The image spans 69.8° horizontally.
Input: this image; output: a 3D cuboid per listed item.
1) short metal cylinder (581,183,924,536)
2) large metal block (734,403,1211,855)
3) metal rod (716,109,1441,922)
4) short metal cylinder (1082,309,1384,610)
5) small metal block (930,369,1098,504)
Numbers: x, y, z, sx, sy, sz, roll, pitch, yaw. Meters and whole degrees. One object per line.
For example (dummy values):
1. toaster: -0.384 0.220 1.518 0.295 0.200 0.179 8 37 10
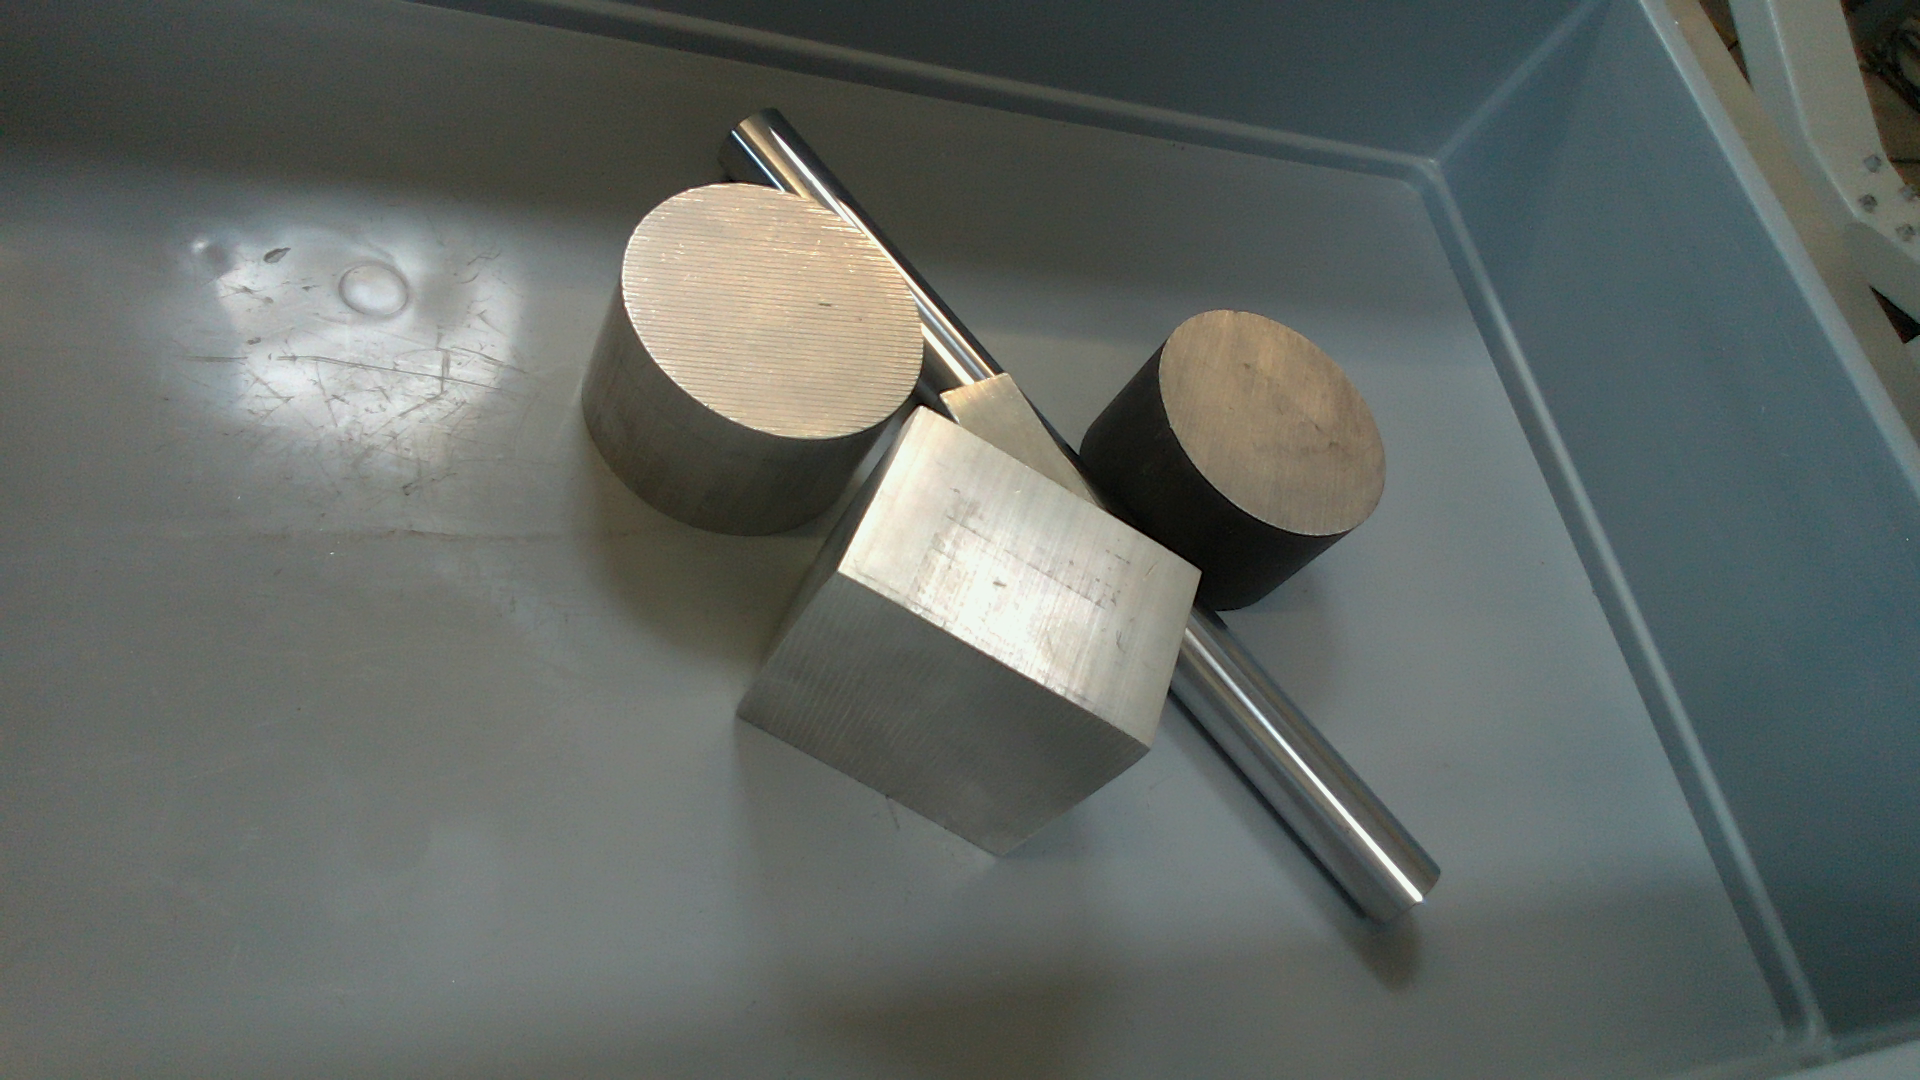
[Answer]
1. short metal cylinder: -0.056 -0.048 0.371 0.080 0.050 0.080 14 56 -21
2. large metal block: 0.001 0.026 0.337 0.080 0.080 0.050 30 52 -8
3. metal rod: 0.031 -0.012 0.412 0.300 0.025 0.025 49 51 6
4. short metal cylinder: 0.085 -0.025 0.433 0.080 0.050 0.080 14 56 -21
5. small metal block: 0.007 -0.010 0.381 0.025 0.050 0.050 -23 74 -36
